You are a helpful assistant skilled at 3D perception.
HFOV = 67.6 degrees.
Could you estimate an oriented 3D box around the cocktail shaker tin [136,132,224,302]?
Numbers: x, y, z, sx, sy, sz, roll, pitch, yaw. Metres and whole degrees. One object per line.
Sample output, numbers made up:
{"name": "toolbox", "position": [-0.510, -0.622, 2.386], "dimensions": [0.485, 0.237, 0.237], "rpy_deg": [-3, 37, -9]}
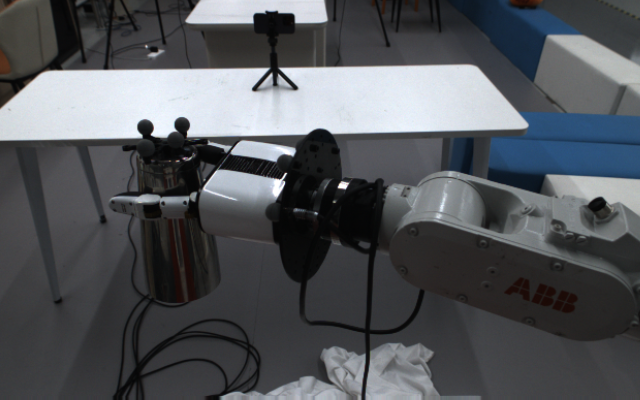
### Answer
{"name": "cocktail shaker tin", "position": [-0.166, 0.022, 0.568], "dimensions": [0.093, 0.170, 0.093], "rpy_deg": [1, 27, -1]}
